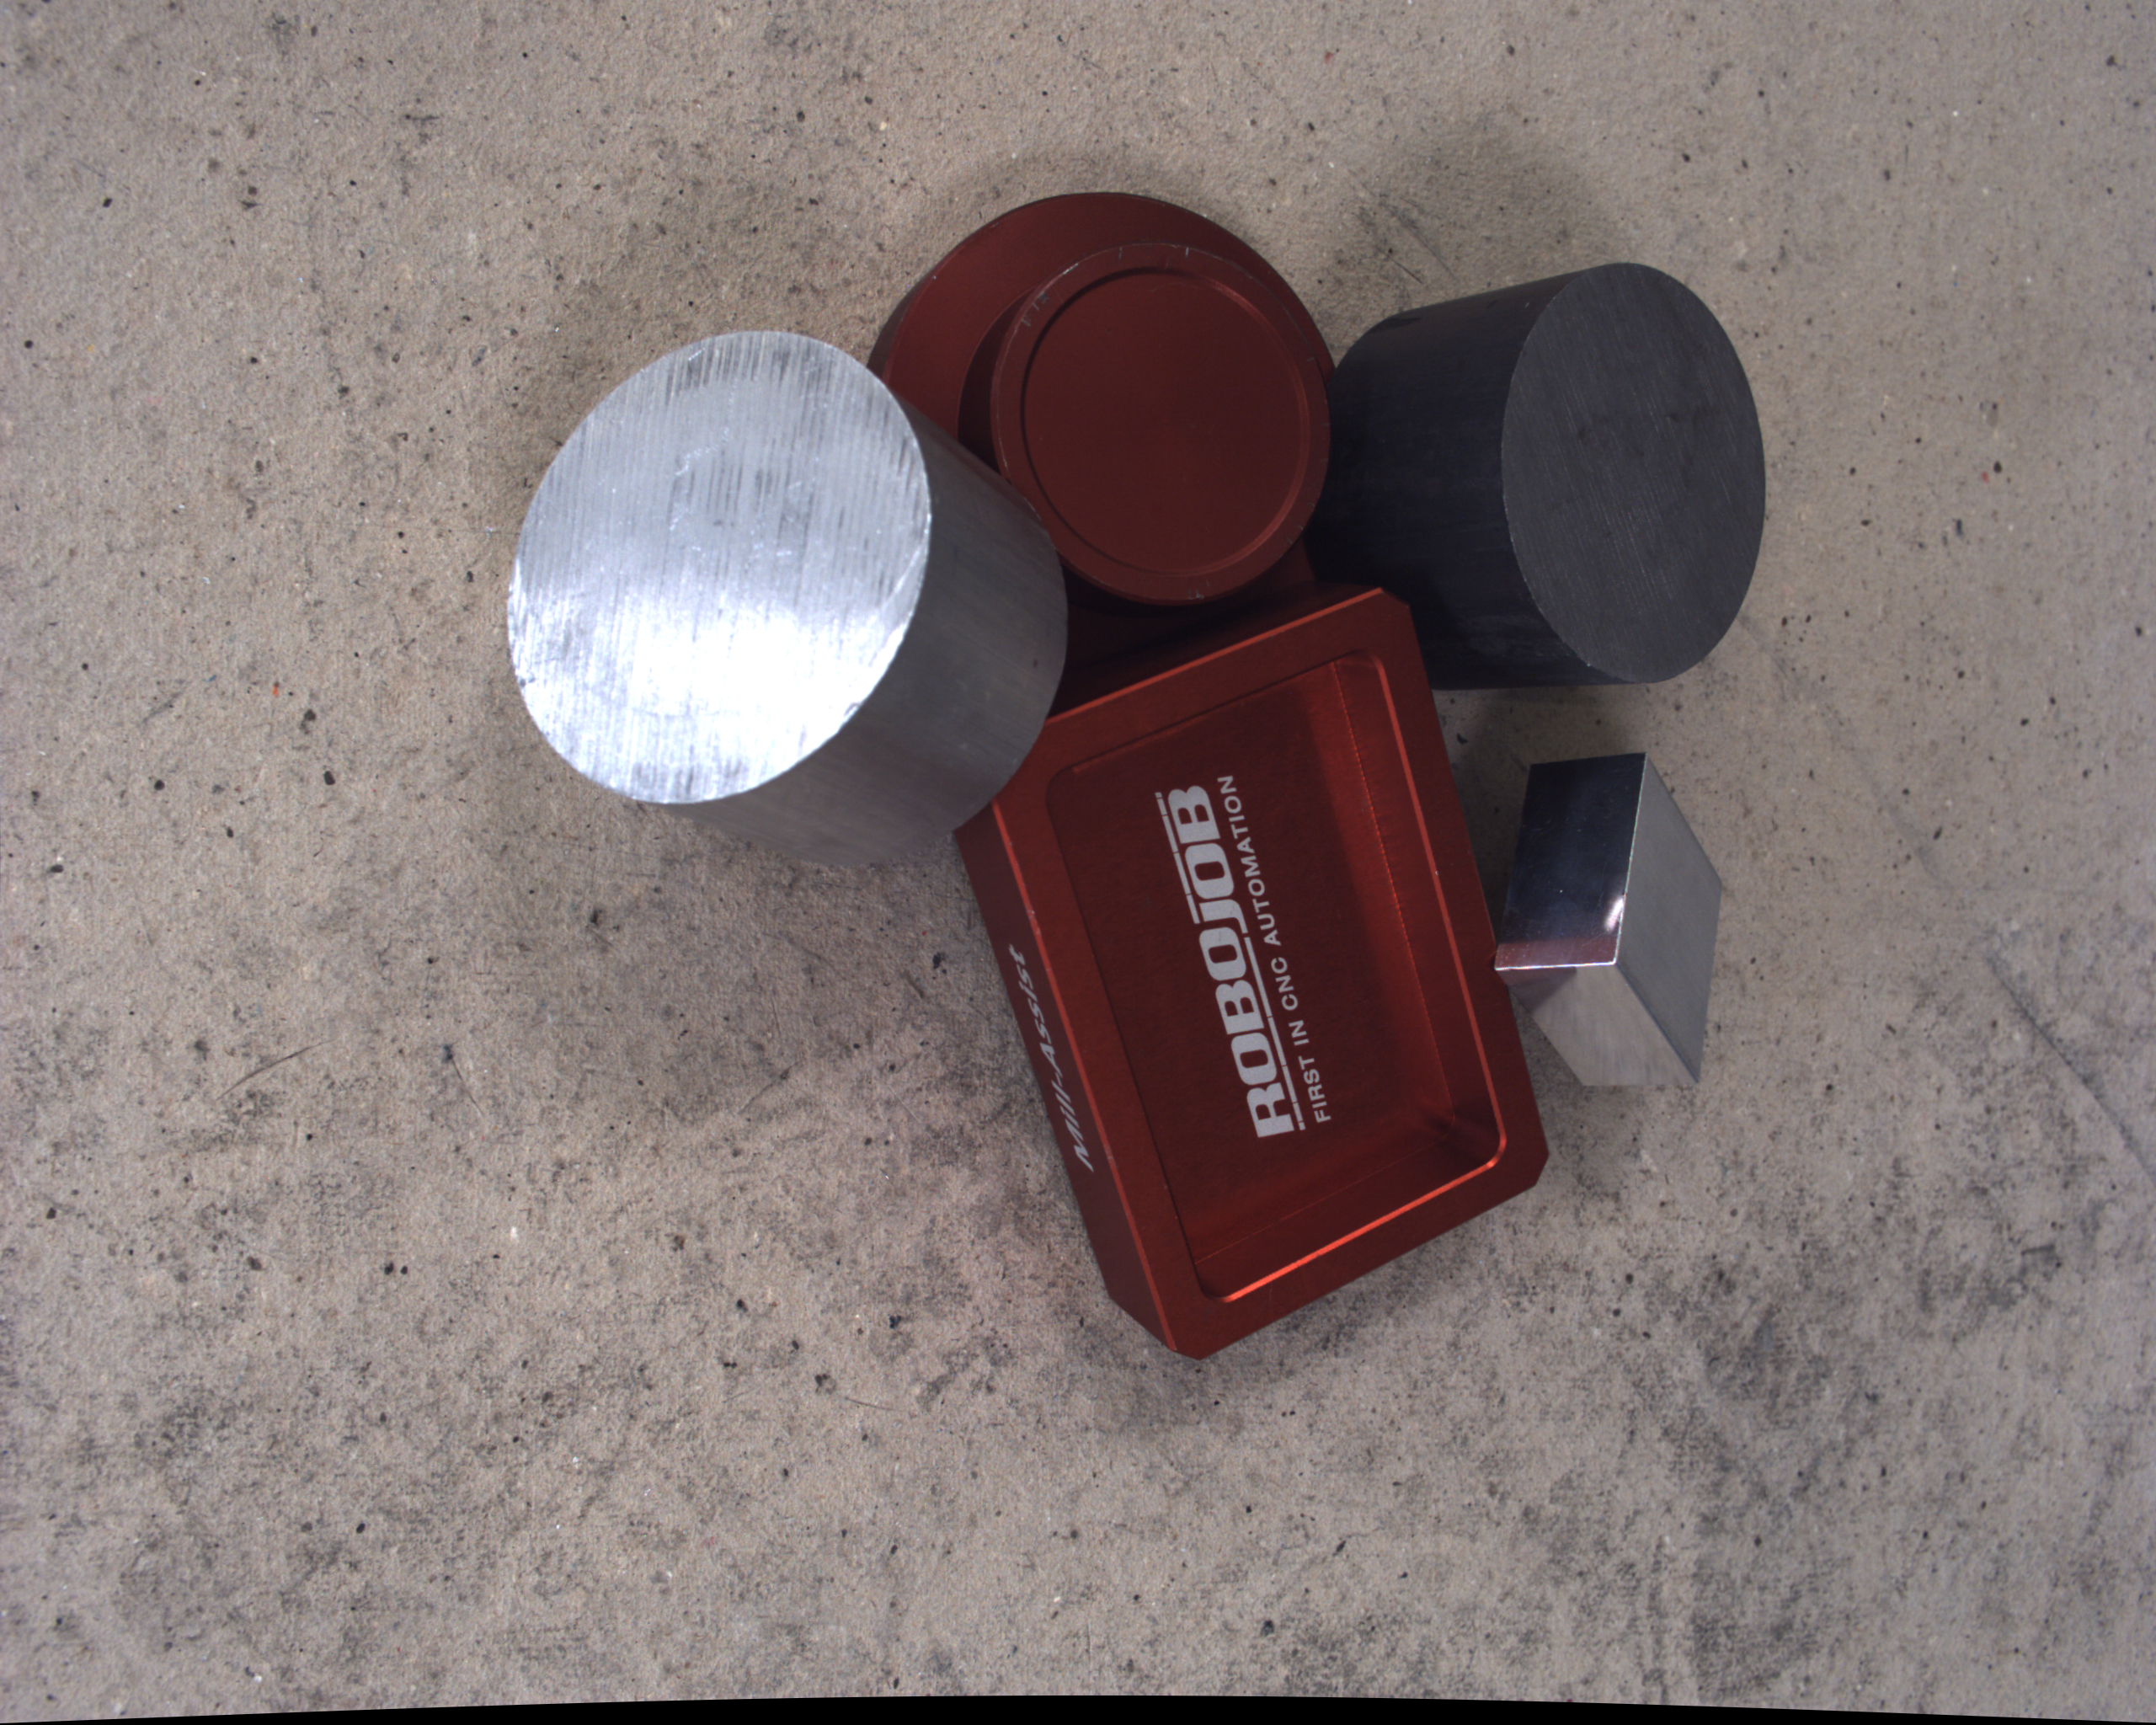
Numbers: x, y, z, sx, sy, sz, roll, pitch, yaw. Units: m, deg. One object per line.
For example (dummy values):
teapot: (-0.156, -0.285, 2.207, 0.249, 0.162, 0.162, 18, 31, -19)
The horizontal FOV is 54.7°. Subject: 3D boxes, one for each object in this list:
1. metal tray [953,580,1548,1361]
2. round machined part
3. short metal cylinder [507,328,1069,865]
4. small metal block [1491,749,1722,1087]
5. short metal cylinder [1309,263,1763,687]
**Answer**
metal tray: (0.034, 0.020, 0.408, 0.091, 0.030, 0.129, -23, 107, -19)
round machined part: (0.009, -0.082, 0.405, 0.099, 0.042, 0.097, 0, 90, -20)
short metal cylinder: (-0.049, -0.043, 0.356, 0.050, 0.080, 0.080, 26, 78, -63)
small metal block: (0.111, 0.012, 0.433, 0.050, 0.025, 0.050, 47, 49, -41)
short metal cylinder: (0.092, -0.075, 0.420, 0.081, 0.050, 0.079, -2, 93, -38)
